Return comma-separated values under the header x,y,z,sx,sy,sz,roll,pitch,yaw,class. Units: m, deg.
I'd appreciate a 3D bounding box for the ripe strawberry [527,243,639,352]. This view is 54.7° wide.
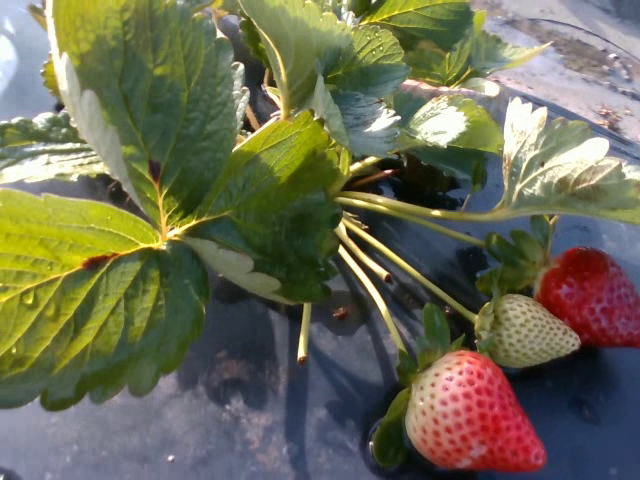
x,y,z,sx,sy,sz,roll,pitch,yaw,class
0.124,0.029,0.269,0.064,0.049,0.050,40,-1,9,ripe strawberry
